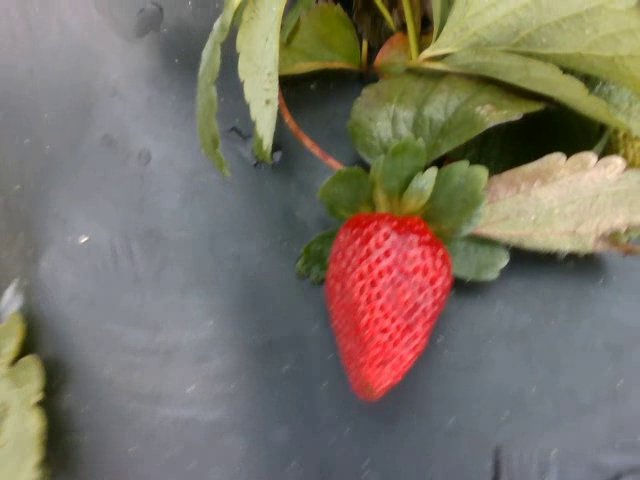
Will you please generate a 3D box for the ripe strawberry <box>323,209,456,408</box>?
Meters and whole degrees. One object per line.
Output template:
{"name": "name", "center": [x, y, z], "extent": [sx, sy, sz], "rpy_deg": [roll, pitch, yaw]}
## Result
{"name": "ripe strawberry", "center": [0.017, 0.019, 0.189], "extent": [0.048, 0.064, 0.046], "rpy_deg": [26, -34, -17]}
